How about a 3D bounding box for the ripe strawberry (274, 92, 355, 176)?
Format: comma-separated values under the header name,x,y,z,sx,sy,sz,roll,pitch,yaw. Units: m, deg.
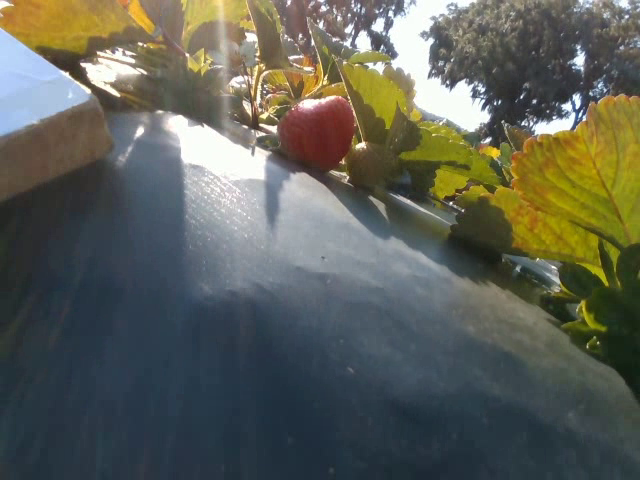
name,x,y,z,sx,sy,sz,roll,pitch,yaw
ripe strawberry,0.002,-0.042,0.240,0.037,0.042,0.045,-51,0,-40
